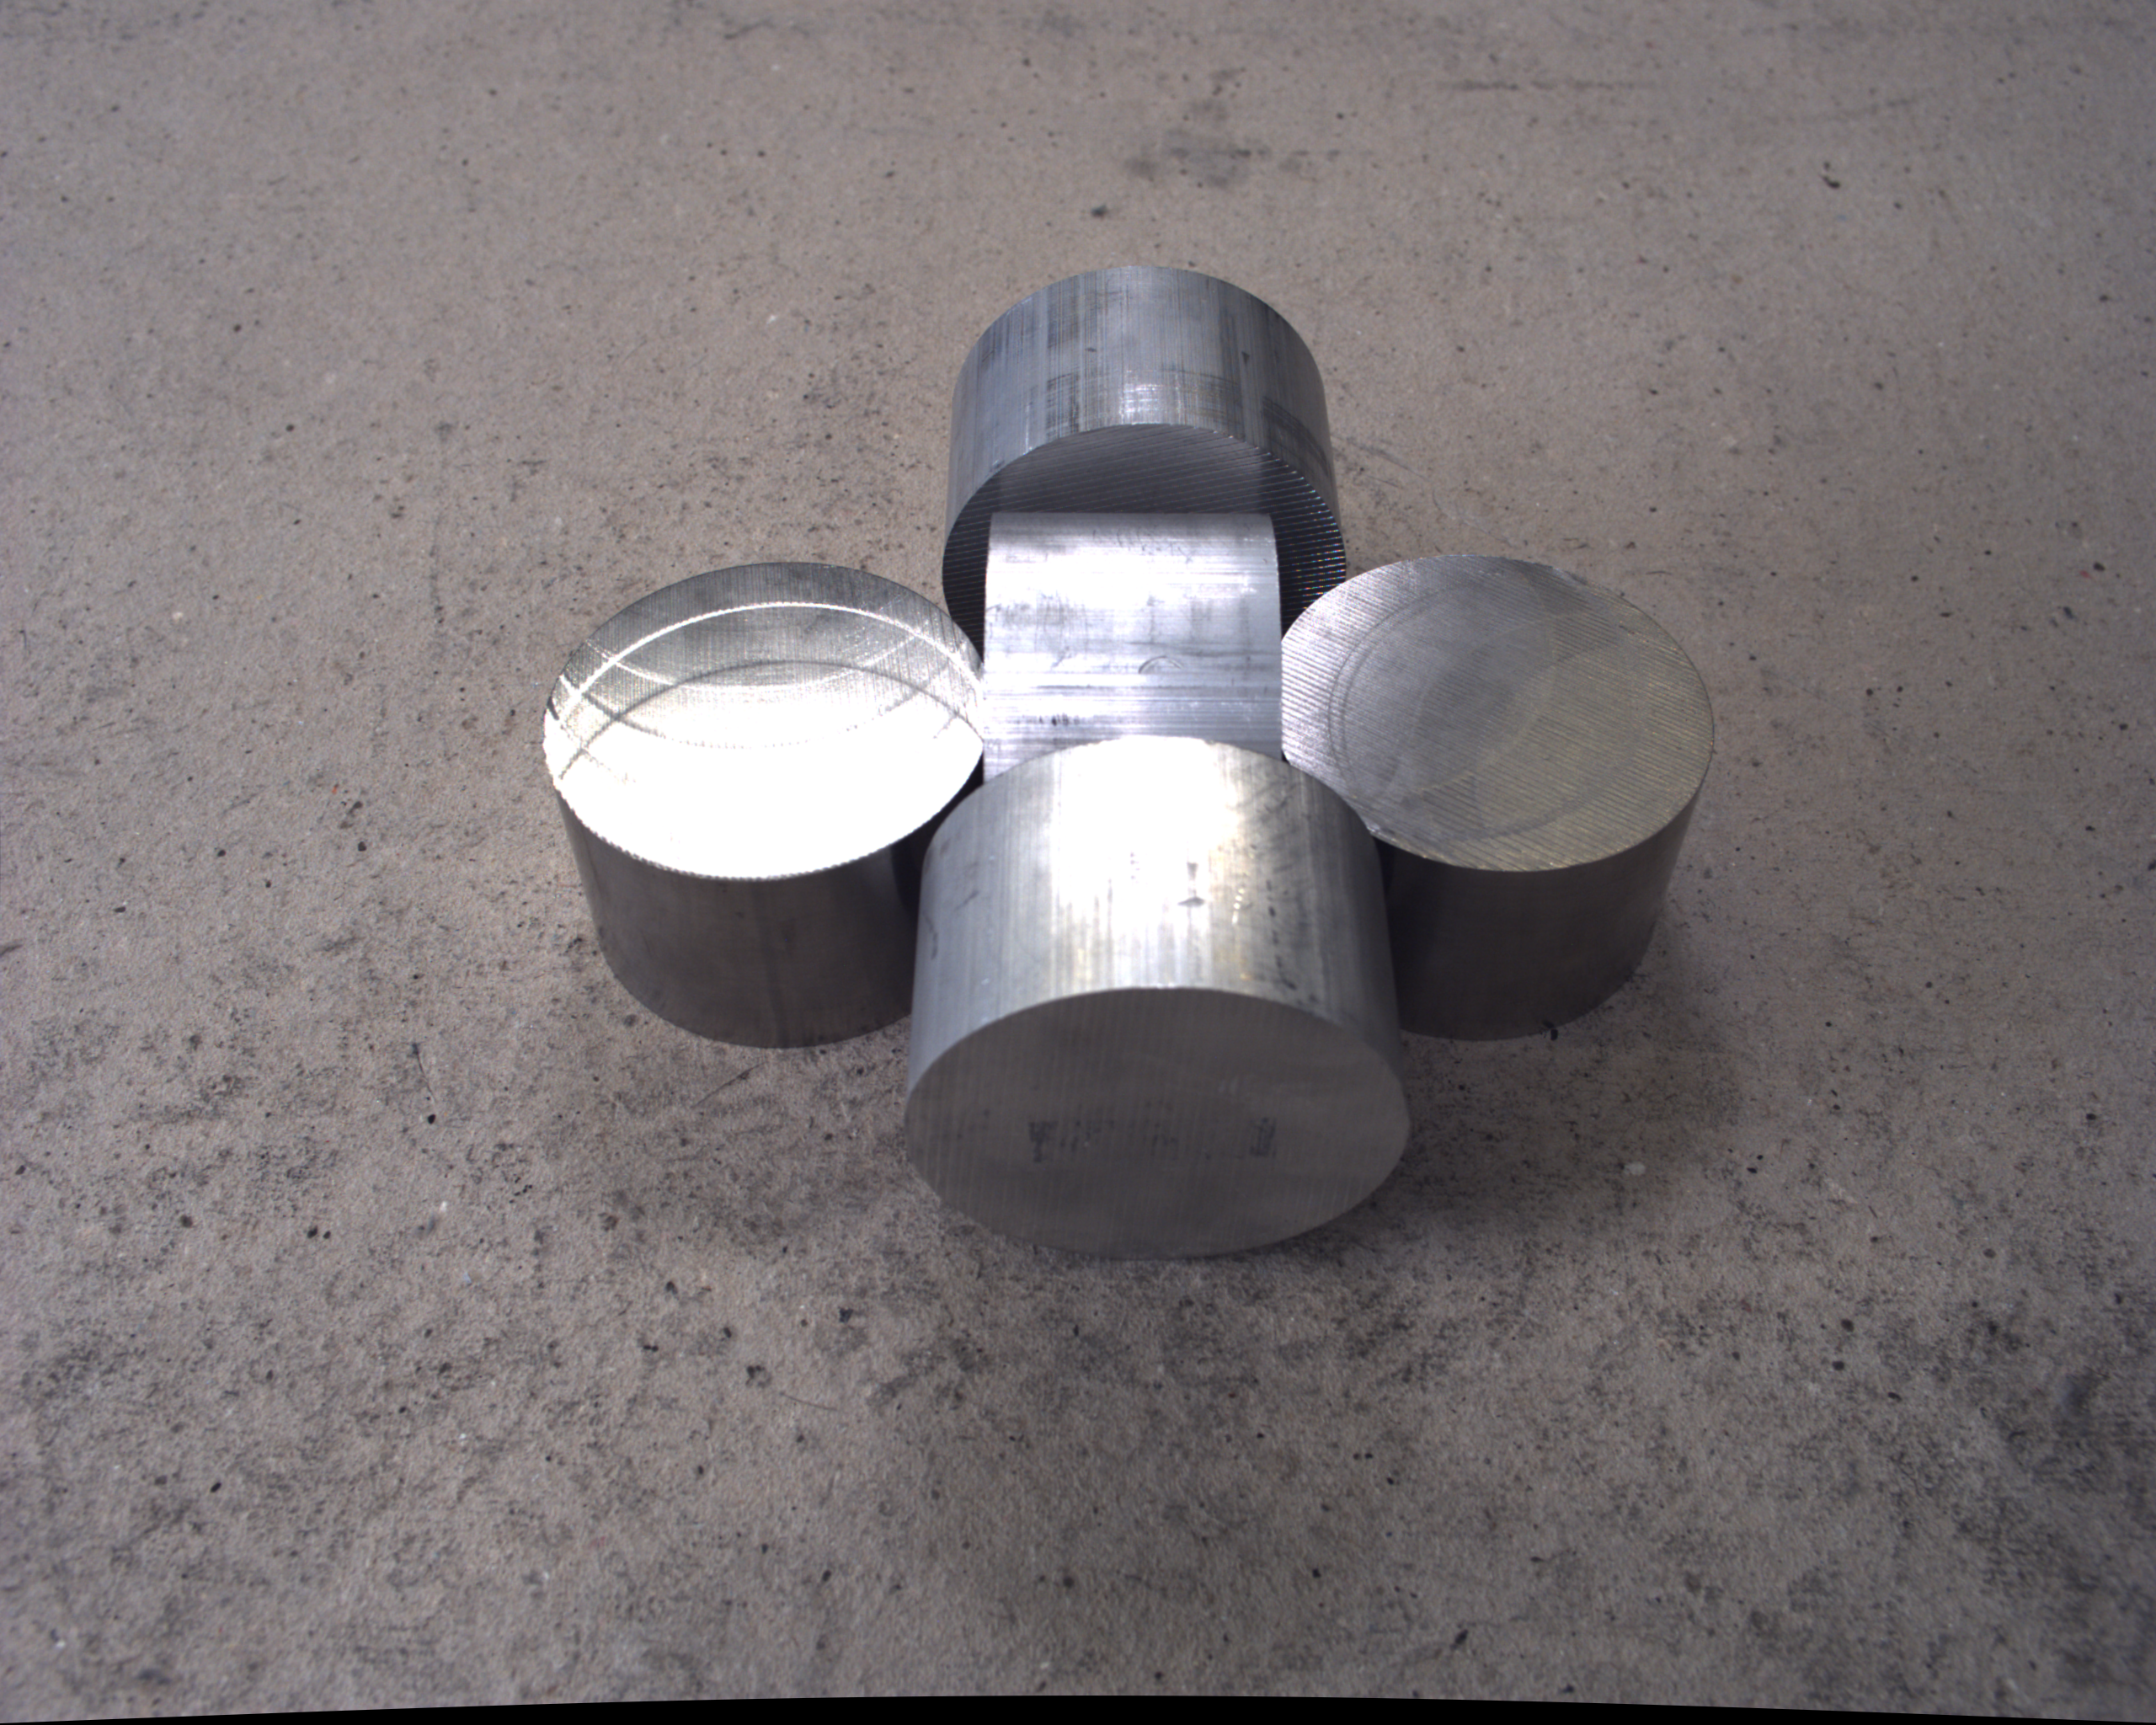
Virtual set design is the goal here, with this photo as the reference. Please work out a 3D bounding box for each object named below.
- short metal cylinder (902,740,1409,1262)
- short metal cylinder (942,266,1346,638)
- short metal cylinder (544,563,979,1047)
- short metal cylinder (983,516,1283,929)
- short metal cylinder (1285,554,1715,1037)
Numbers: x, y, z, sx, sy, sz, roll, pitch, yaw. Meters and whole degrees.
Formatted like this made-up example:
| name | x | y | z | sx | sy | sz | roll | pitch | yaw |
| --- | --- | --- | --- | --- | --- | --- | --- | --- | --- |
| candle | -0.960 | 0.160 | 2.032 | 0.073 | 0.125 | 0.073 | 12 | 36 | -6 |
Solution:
| name | x | y | z | sx | sy | sz | roll | pitch | yaw |
| --- | --- | --- | --- | --- | --- | --- | --- | --- | --- |
| short metal cylinder | 0.012 | 0.025 | 0.349 | 0.081 | 0.080 | 0.050 | 0 | 50 | 0 |
| short metal cylinder | 0.013 | -0.075 | 0.433 | 0.081 | 0.080 | 0.050 | 0 | 50 | 0 |
| short metal cylinder | -0.056 | -0.012 | 0.398 | 0.081 | 0.050 | 0.080 | 1 | 50 | -1 |
| short metal cylinder | 0.010 | -0.025 | 0.390 | 0.050 | 0.080 | 0.080 | 0 | 50 | 0 |
| short metal cylinder | 0.075 | -0.014 | 0.400 | 0.080 | 0.050 | 0.080 | 0 | 50 | 0 |
